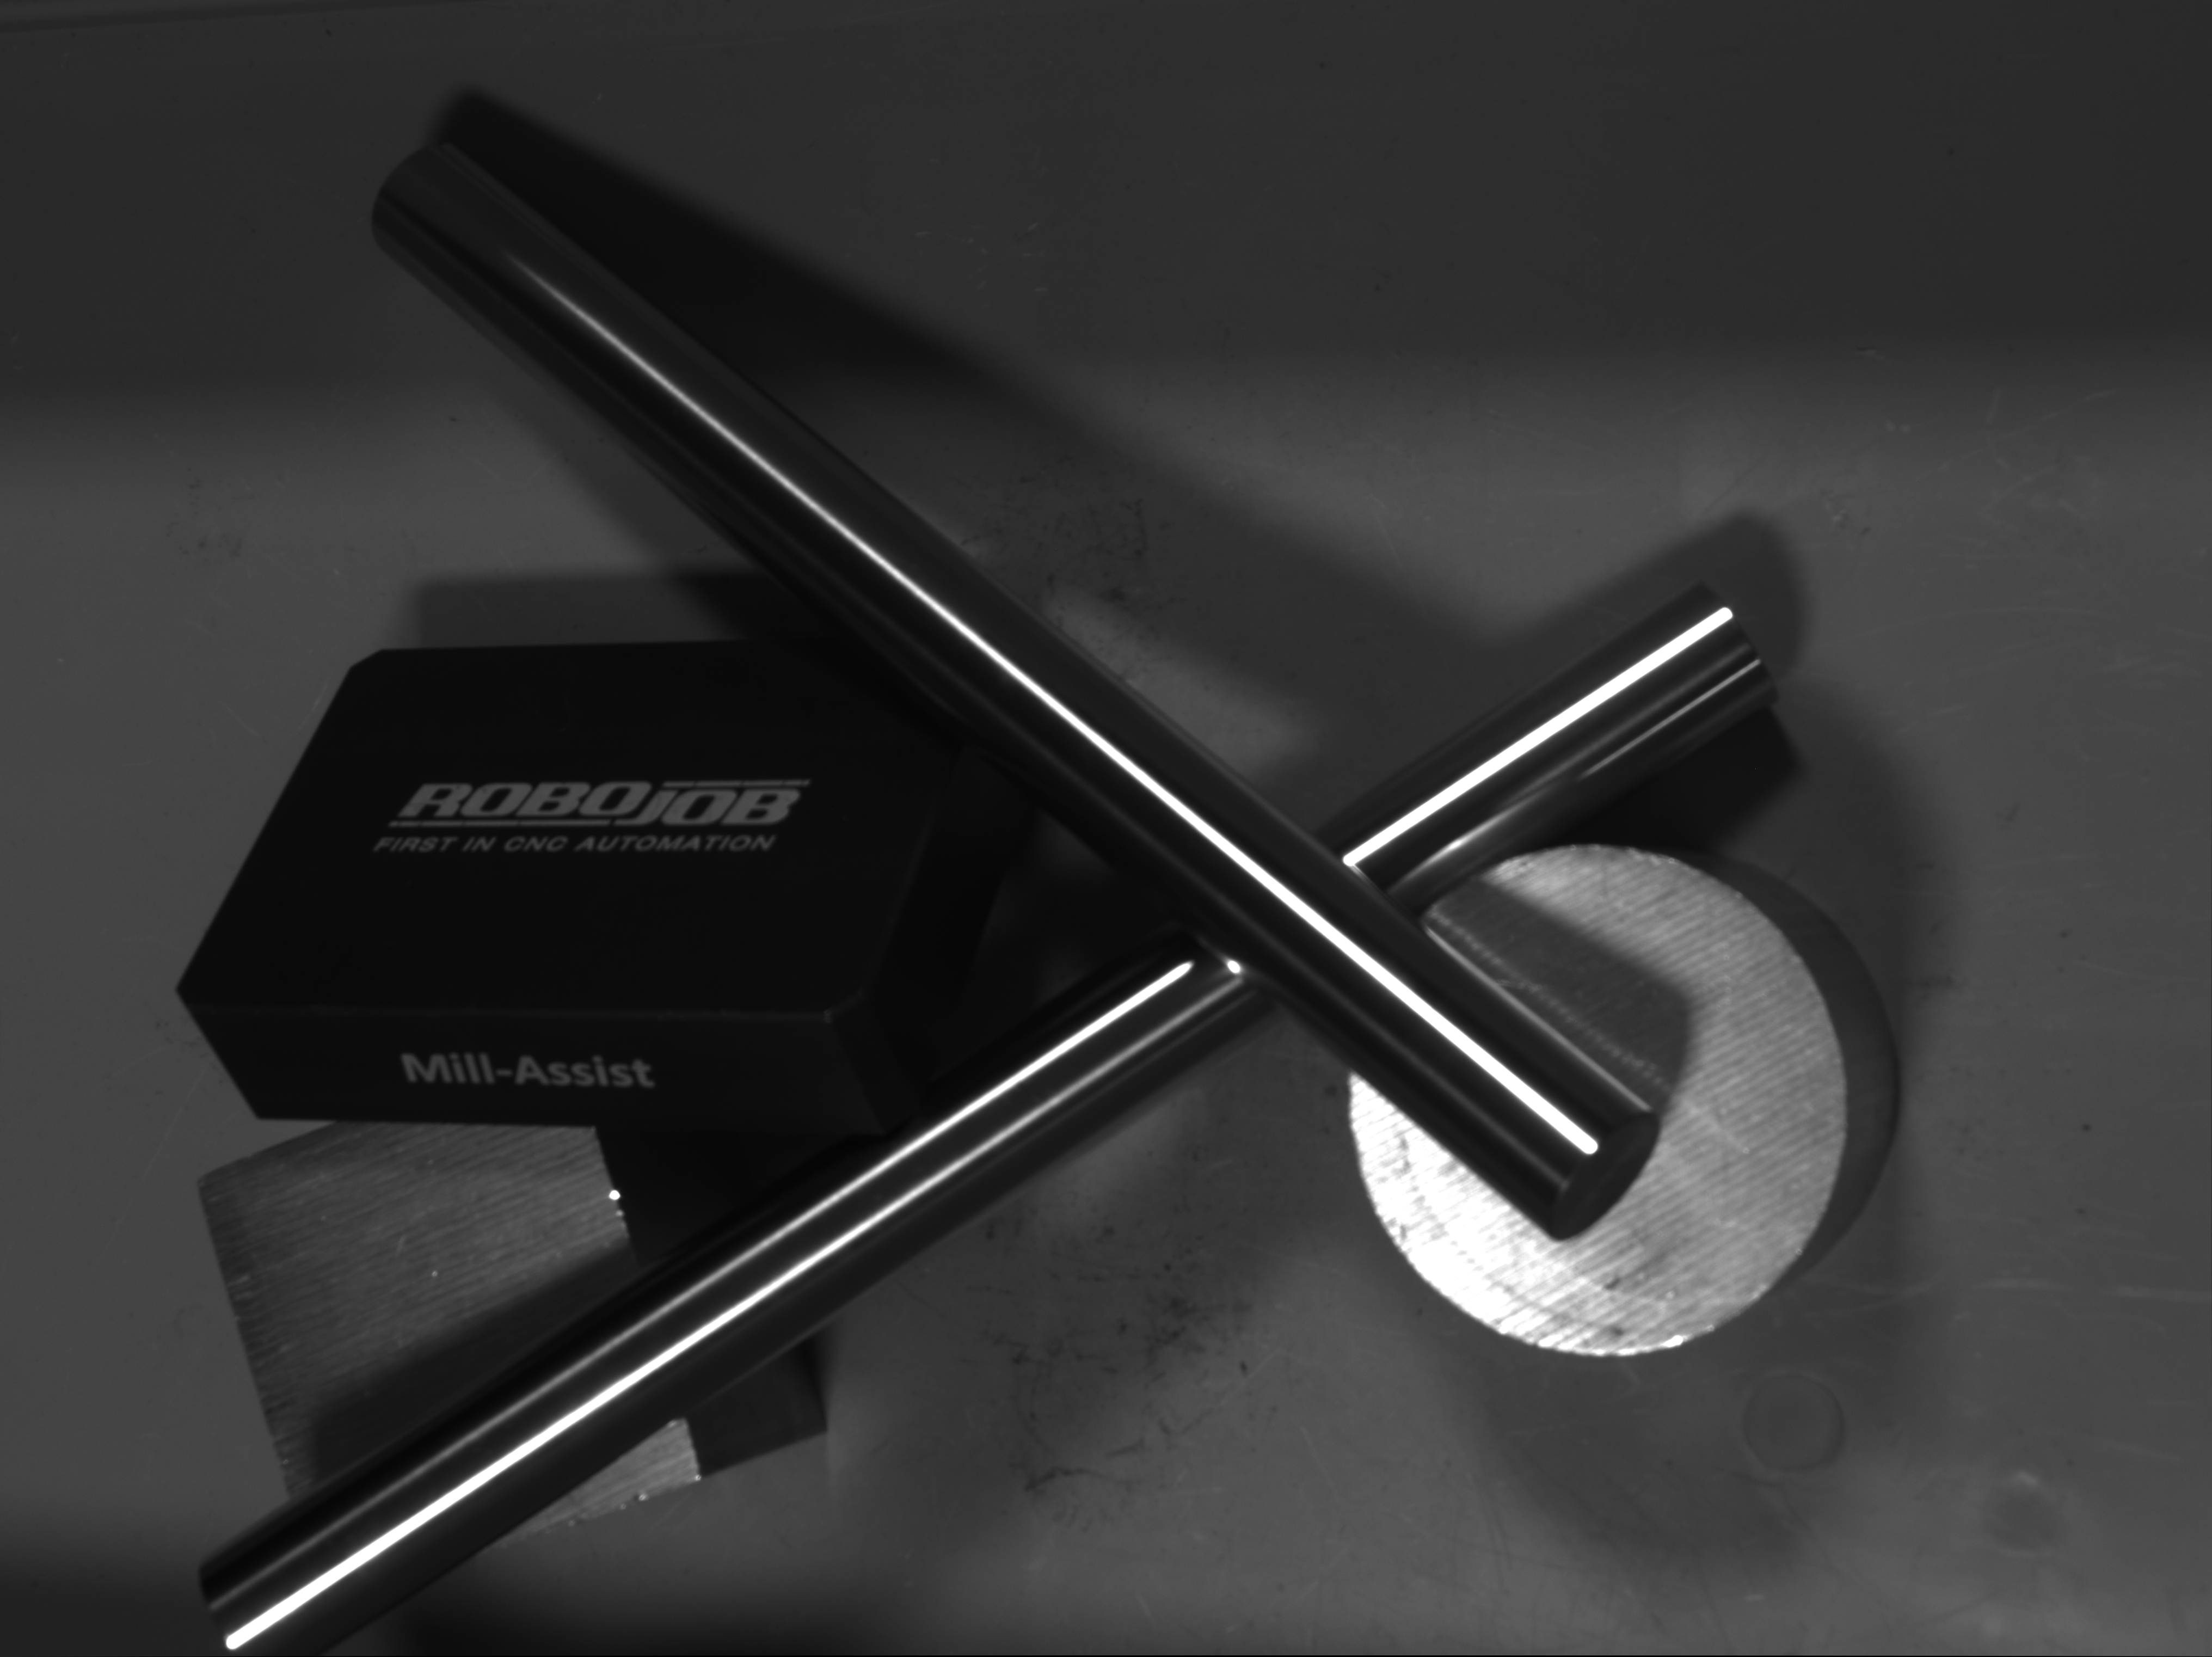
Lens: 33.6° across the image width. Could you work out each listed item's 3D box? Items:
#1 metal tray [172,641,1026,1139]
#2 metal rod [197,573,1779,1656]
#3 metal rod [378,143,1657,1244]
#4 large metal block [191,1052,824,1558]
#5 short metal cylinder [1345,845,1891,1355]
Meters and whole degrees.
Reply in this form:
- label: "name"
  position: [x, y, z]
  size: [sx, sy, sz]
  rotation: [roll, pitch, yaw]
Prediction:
- label: "metal tray"
  position: [-0.086, 0.009, 0.642]
  size: [0.130, 0.030, 0.090]
  rotation: [0, 46, 21]
- label: "metal rod"
  position: [-0.021, 0.051, 0.611]
  size: [0.300, 0.025, 0.025]
  rotation: [-34, 79, 2]
- label: "metal rod"
  position: [-0.026, -0.033, 0.622]
  size: [0.299, 0.025, 0.025]
  rotation: [40, 103, 28]
- label: "large metal block"
  position: [-0.108, 0.088, 0.665]
  size: [0.080, 0.050, 0.080]
  rotation: [-20, 83, 18]
- label: "short metal cylinder"
  position: [0.084, 0.043, 0.599]
  size: [0.080, 0.050, 0.080]
  rotation: [0, 90, 20]
